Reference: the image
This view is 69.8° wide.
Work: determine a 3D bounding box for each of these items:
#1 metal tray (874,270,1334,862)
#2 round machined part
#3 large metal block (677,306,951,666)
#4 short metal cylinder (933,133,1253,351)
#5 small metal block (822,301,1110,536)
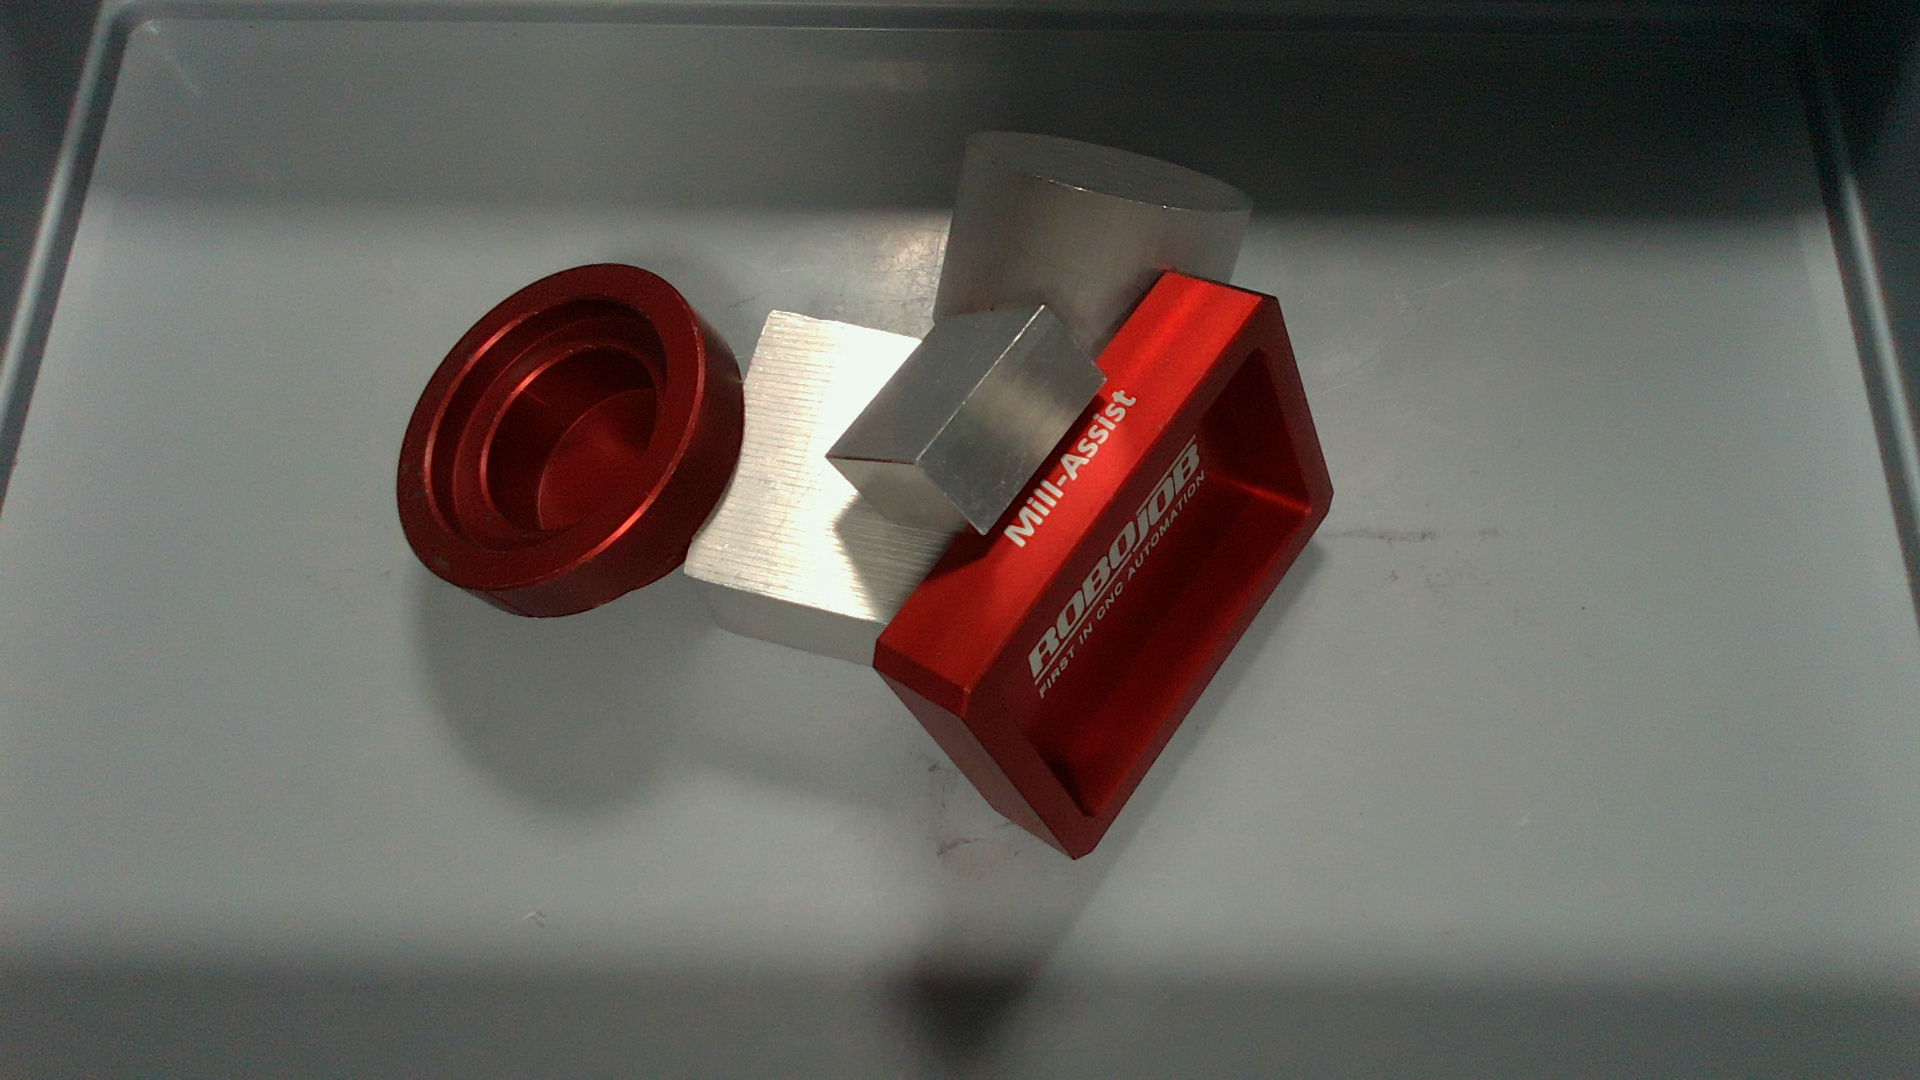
[{"bbox_3d":[0.044,0.007,0.355,0.030,0.090,0.130,25,69,38],"label":"metal tray"},{"bbox_3d":[-0.102,-0.024,0.380,0.098,0.042,0.098,-10,63,20],"label":"round machined part"},{"bbox_3d":[-0.023,-0.010,0.384,0.080,0.050,0.080,14,71,5],"label":"large metal block"},{"bbox_3d":[0.036,-0.080,0.387,0.080,0.080,0.050,15,115,6],"label":"short metal cylinder"},{"bbox_3d":[0.000,-0.030,0.336,0.025,0.050,0.050,46,73,-25],"label":"small metal block"}]
